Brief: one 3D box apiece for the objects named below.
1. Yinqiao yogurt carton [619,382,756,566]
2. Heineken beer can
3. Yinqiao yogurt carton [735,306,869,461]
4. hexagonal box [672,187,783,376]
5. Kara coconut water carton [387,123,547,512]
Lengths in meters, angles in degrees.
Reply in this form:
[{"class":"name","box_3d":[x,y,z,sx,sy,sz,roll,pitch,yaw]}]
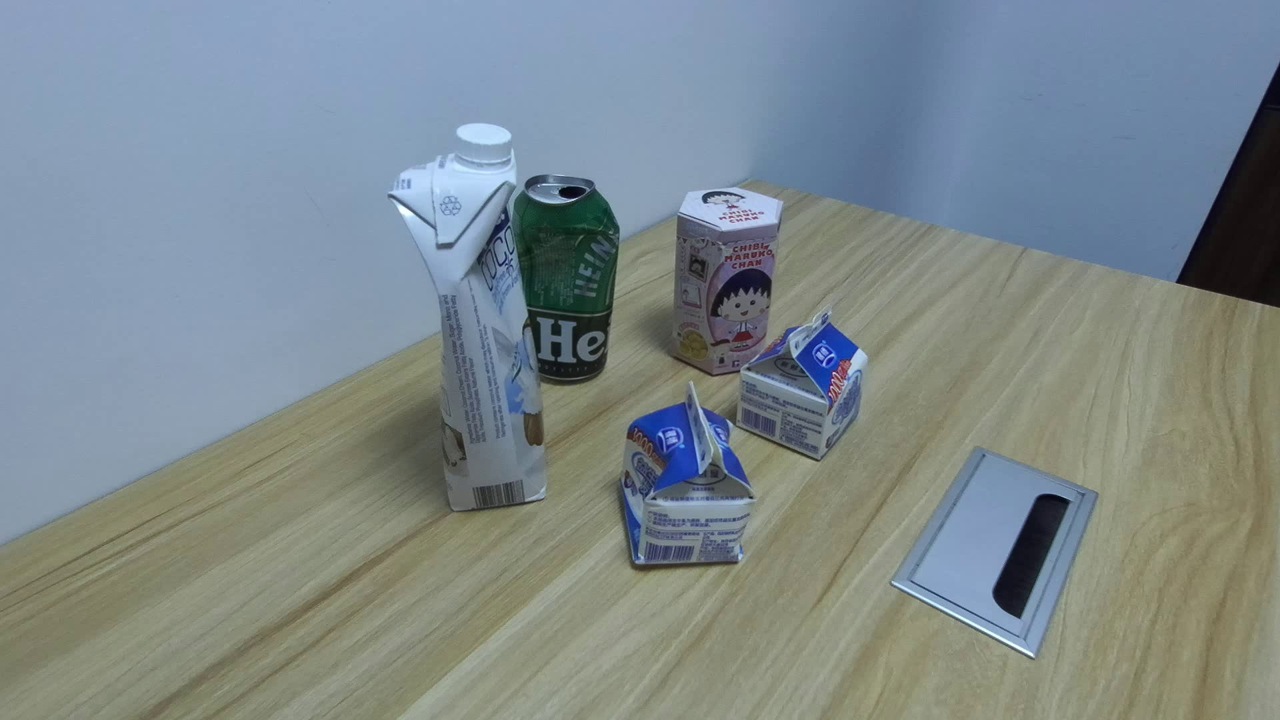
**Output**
[{"class":"Yinqiao yogurt carton","box_3d":[0.029,0.068,0.430,0.071,0.094,0.077,1,33,-10]},{"class":"Heineken beer can","box_3d":[-0.063,-0.062,0.568,0.066,0.164,0.077,-25,43,-33]},{"class":"Yinqiao yogurt carton","box_3d":[0.122,0.009,0.523,0.073,0.092,0.076,20,36,31]},{"class":"hexagonal box","box_3d":[0.072,-0.064,0.590,0.091,0.136,0.083,-10,34,-15]},{"class":"Kara coconut water carton","box_3d":[-0.098,-0.018,0.434,0.069,0.239,0.115,-4,33,-8]}]
